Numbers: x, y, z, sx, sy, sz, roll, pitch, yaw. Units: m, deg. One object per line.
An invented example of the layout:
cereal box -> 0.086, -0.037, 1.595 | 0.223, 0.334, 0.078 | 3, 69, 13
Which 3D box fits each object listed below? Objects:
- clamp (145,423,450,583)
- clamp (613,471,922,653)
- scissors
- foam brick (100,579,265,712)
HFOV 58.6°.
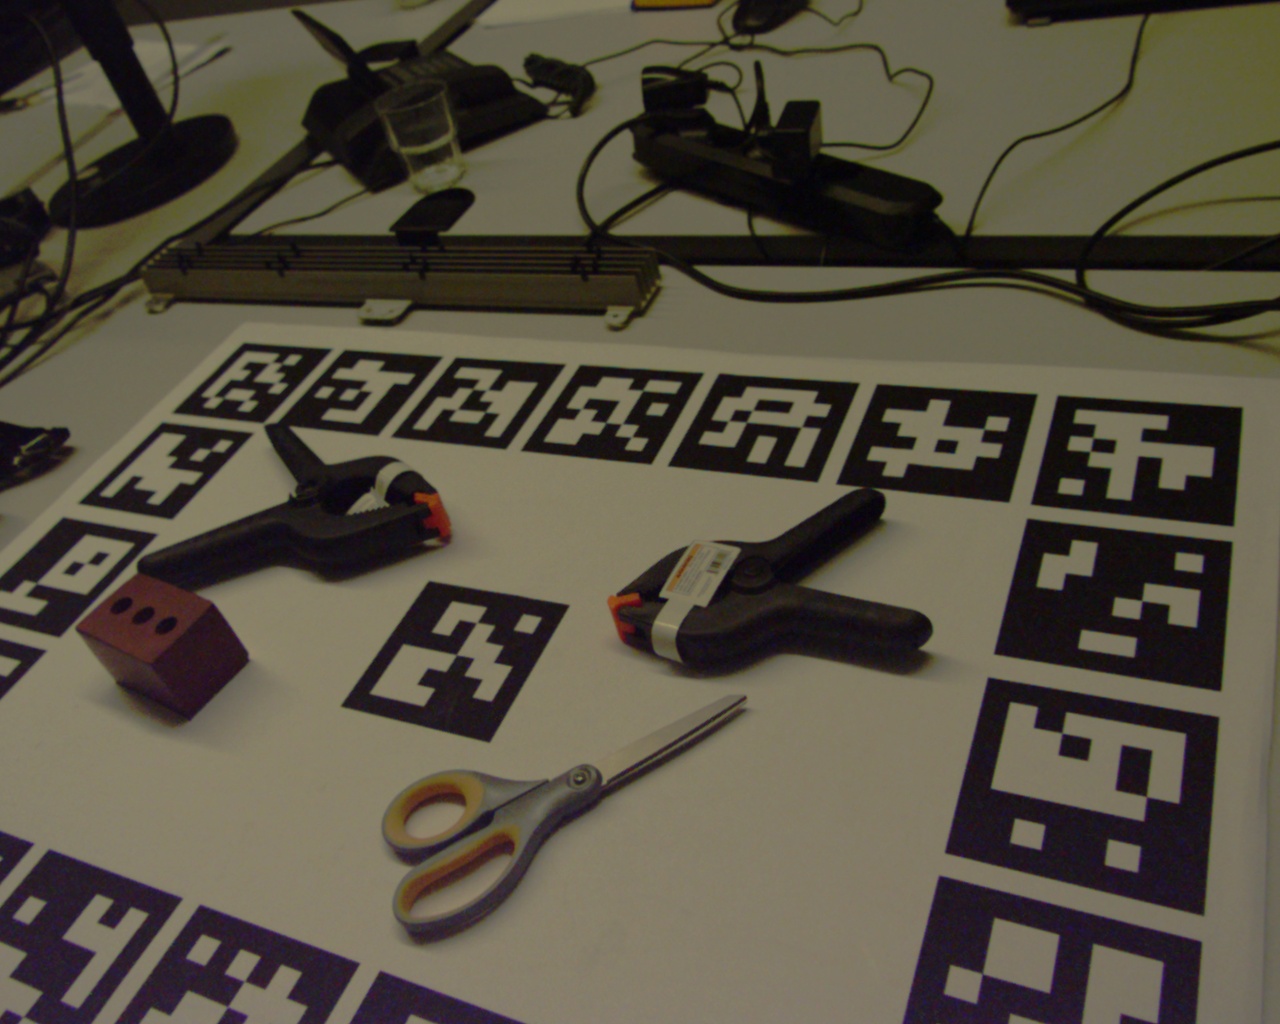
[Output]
clamp -> -0.227, -0.004, 0.810 | 0.205, 0.036, 0.165 | 4, 43, 22
clamp -> 0.067, 0.040, 0.665 | 0.165, 0.036, 0.122 | -14, 48, 6
scissors -> -0.042, 0.136, 0.604 | 0.202, 0.016, 0.089 | -28, 50, -13
foam brick -> -0.293, 0.085, 0.730 | 0.079, 0.051, 0.052 | 10, 50, 34
